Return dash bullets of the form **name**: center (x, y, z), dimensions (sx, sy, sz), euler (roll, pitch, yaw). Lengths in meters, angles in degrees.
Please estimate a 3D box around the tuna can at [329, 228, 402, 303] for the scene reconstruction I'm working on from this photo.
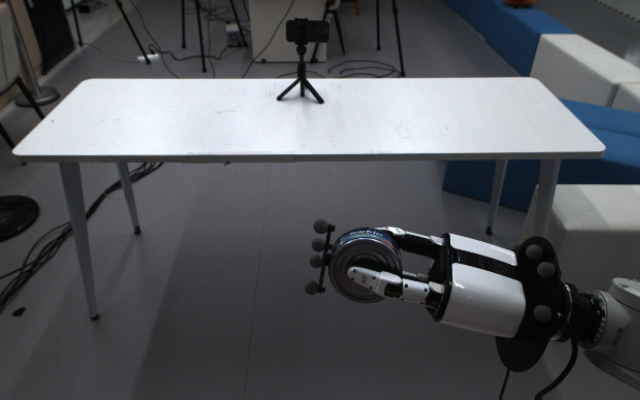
- **tuna can**: center (0.057, 0.080, 0.564), dimensions (0.085, 0.085, 0.034), euler (4, 17, 3)
